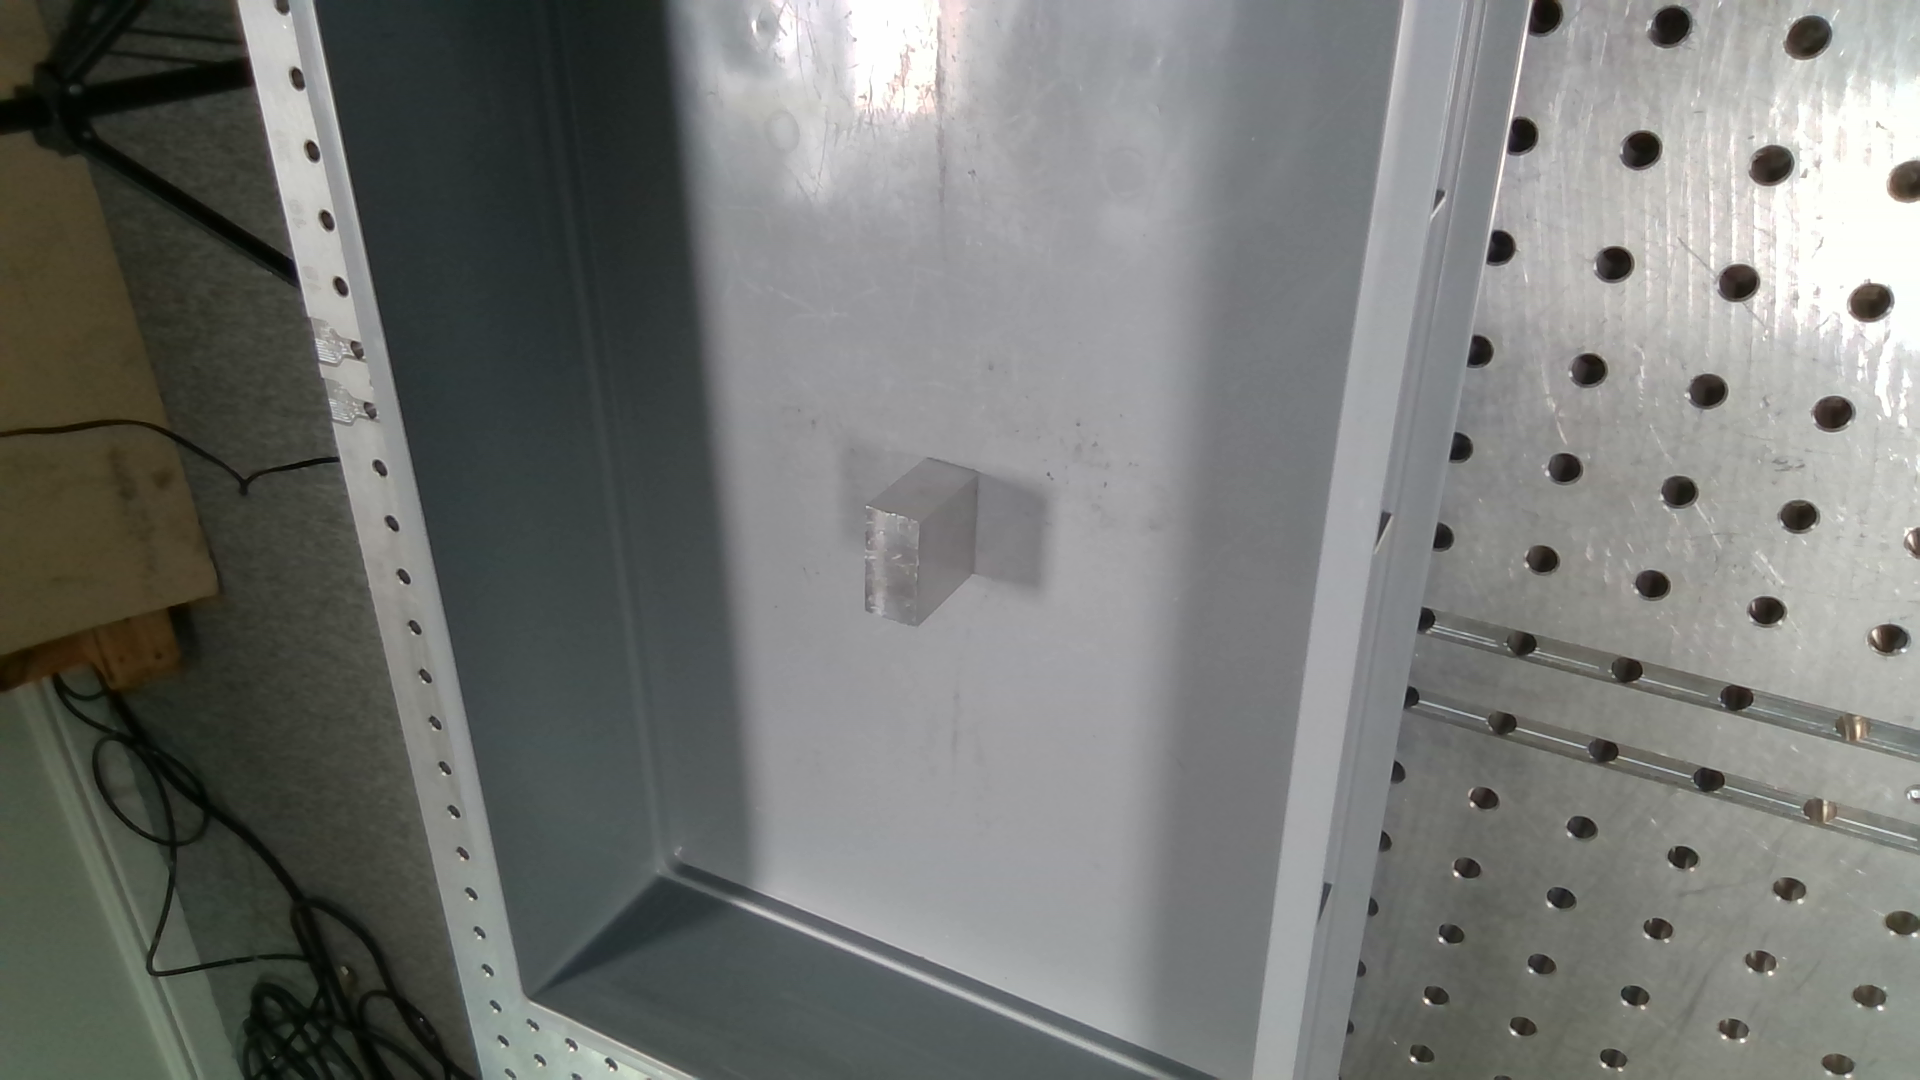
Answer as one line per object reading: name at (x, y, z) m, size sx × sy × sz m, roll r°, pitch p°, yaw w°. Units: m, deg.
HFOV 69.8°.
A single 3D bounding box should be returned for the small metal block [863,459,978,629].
small metal block at (-0.016, 0.000, 0.570) m, size 0.025 × 0.050 × 0.050 m, roll 17°, pitch 123°, yaw 23°
